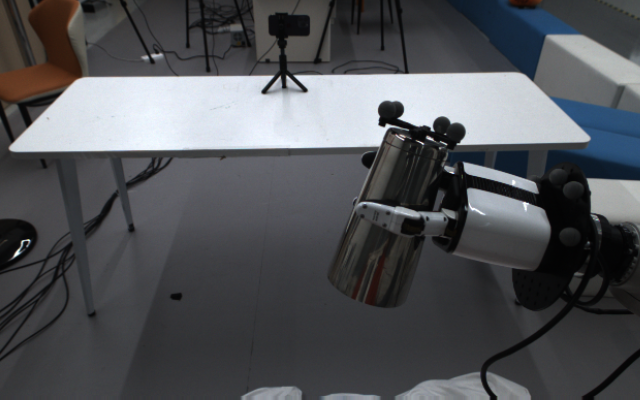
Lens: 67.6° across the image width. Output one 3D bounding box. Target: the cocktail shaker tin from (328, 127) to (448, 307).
[{"bbox_3d":[0.076,0.015,0.512,0.093,0.170,0.093,15,17,-5],"label":"cocktail shaker tin"}]
